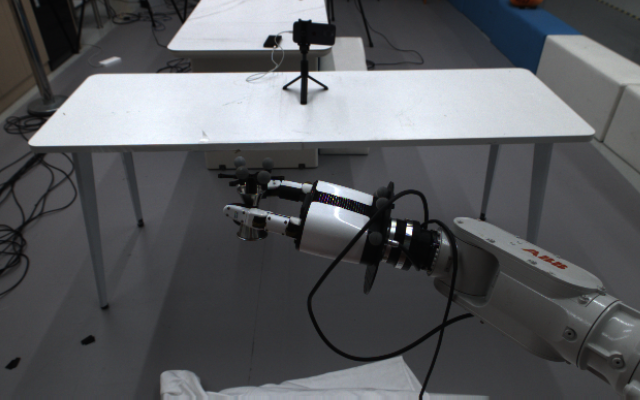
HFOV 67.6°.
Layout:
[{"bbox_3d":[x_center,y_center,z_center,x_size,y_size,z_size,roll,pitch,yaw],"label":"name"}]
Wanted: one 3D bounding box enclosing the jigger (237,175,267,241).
[{"bbox_3d":[-0.094,0.016,0.674,0.043,0.071,0.043,2,20,-1],"label":"jigger"}]
